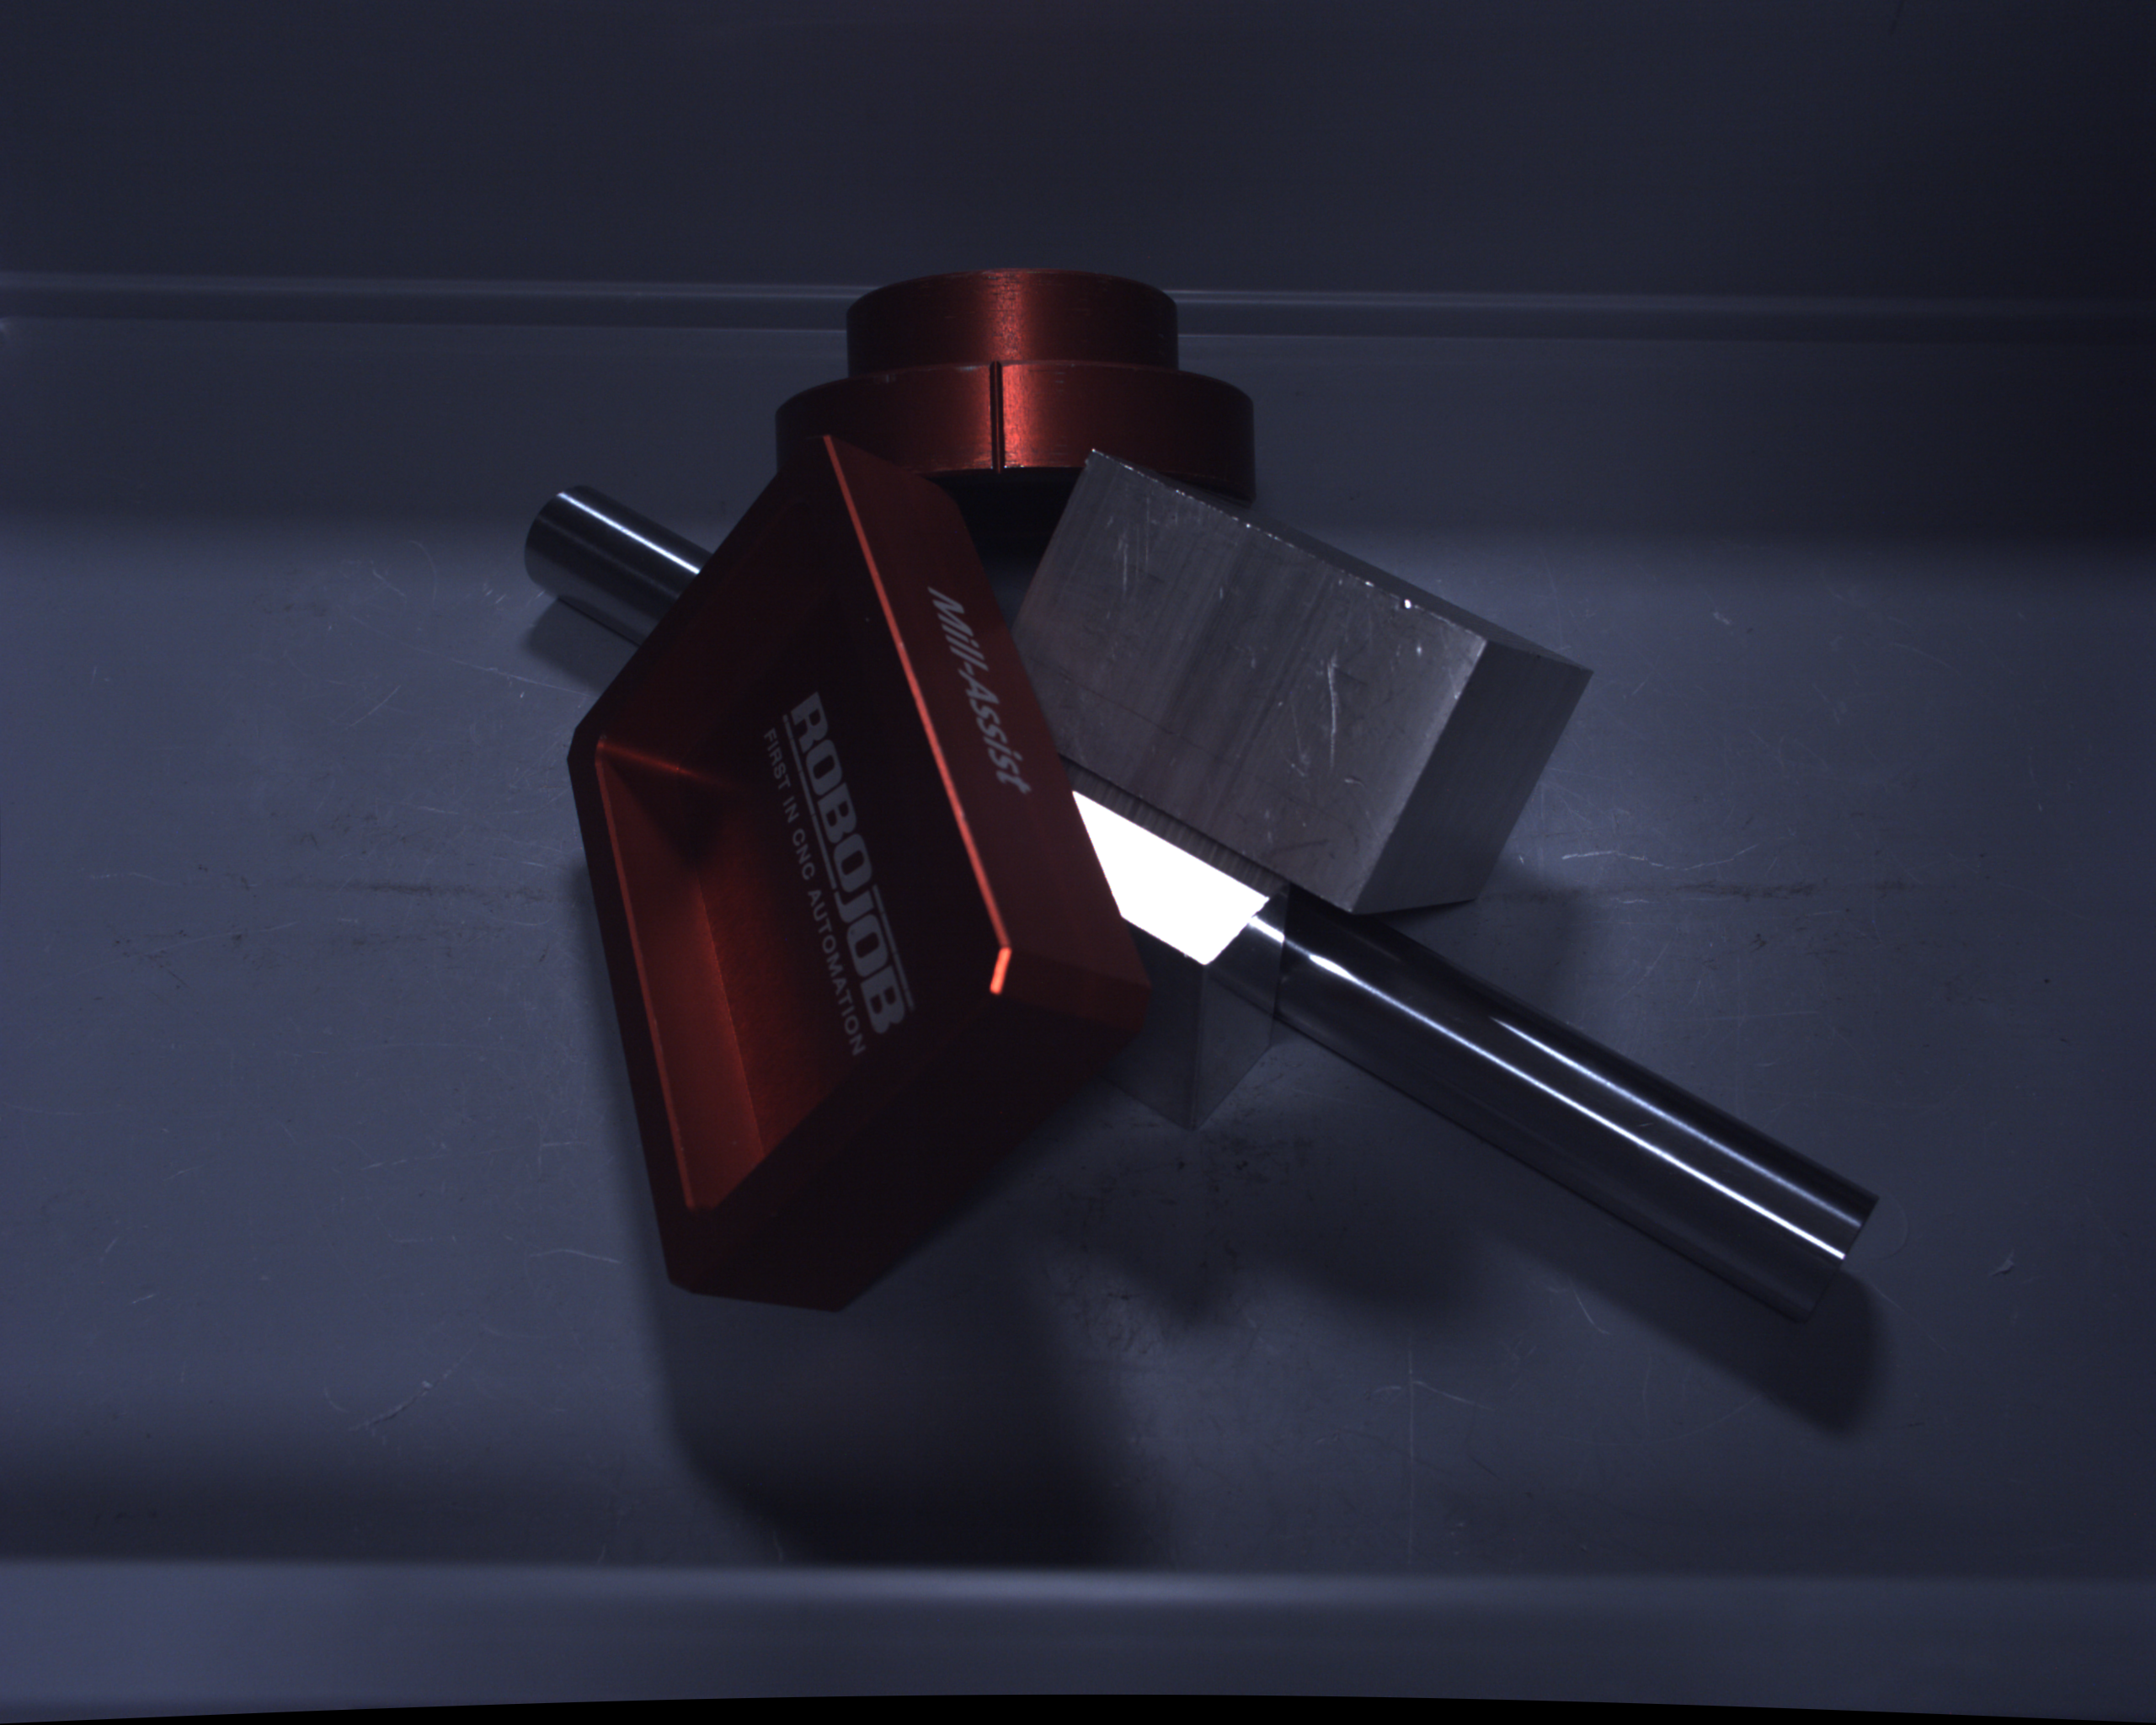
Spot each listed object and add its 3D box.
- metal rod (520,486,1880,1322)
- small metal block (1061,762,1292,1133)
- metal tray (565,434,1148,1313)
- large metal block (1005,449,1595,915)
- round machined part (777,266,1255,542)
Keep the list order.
[{"bbox_3d":[0.007,-0.003,0.405,0.300,0.025,0.025,30,56,22],"label":"metal rod"},{"bbox_3d":[0.009,0.014,0.375,0.050,0.050,0.025,31,57,23],"label":"small metal block"},{"bbox_3d":[-0.045,0.000,0.363,0.030,0.090,0.130,19,37,-40],"label":"metal tray"},{"bbox_3d":[0.040,-0.032,0.389,0.080,0.050,0.080,30,13,22],"label":"large metal block"},{"bbox_3d":[-0.013,-0.094,0.432,0.099,0.098,0.042,-1,91,-2],"label":"round machined part"}]
